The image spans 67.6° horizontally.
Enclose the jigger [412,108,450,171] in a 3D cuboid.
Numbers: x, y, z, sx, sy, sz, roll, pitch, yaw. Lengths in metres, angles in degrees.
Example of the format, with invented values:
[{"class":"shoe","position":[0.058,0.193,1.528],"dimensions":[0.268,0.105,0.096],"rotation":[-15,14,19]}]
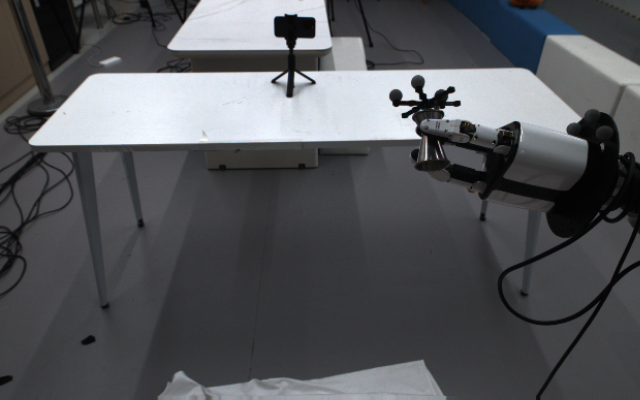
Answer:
[{"class":"jigger","position":[0.139,-0.077,0.605],"dimensions":[0.043,0.043,0.071],"rotation":[0,75,-3]}]
